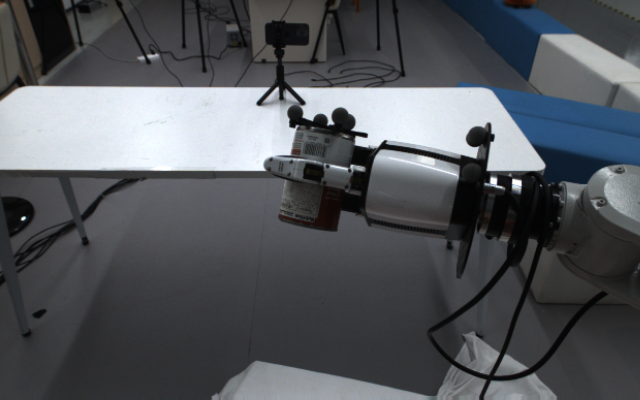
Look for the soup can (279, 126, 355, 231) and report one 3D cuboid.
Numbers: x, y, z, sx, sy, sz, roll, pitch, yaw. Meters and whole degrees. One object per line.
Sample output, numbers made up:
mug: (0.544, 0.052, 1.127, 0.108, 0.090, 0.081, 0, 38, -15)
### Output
soup can: (-0.002, -0.023, 0.525, 0.067, 0.101, 0.067, 12, 2, 0)
